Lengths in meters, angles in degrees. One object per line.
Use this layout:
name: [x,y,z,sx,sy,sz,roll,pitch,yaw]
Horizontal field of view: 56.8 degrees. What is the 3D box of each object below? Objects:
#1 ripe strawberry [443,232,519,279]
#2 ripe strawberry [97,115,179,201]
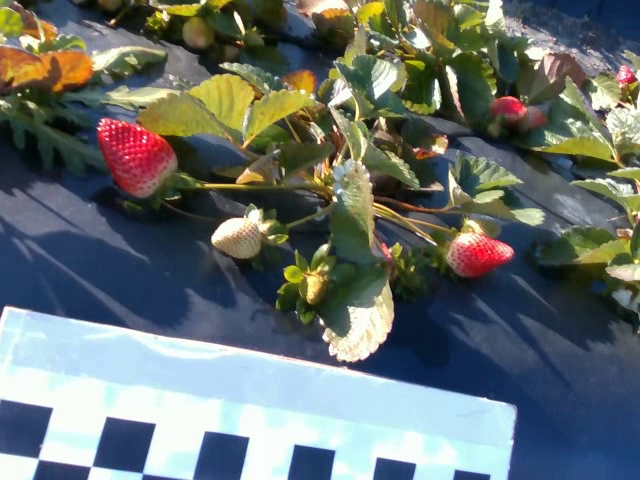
ripe strawberry: [0.097,0.009,0.357,0.042,0.037,0.045,1,-10,-45]
ripe strawberry: [-0.101,-0.048,0.321,0.053,0.044,0.036,43,-16,-14]
